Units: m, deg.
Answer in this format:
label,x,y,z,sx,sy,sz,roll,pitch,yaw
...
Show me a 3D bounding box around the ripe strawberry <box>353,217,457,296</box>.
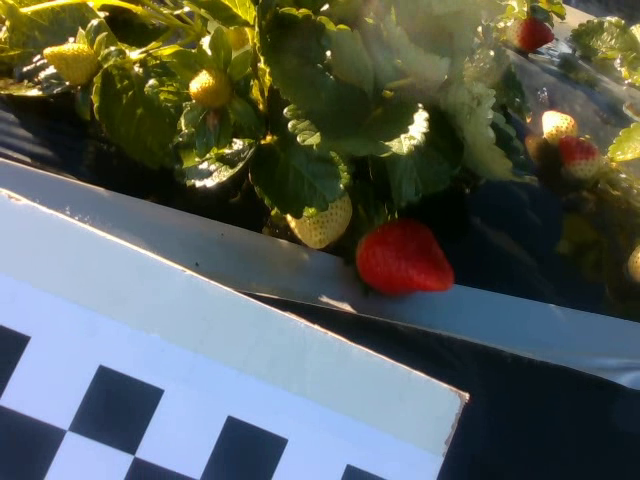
label,x,y,z,sx,sy,sz,roll,pitch,yaw
ripe strawberry,0.041,0.011,0.292,0.045,0.049,0.063,-42,32,-10
